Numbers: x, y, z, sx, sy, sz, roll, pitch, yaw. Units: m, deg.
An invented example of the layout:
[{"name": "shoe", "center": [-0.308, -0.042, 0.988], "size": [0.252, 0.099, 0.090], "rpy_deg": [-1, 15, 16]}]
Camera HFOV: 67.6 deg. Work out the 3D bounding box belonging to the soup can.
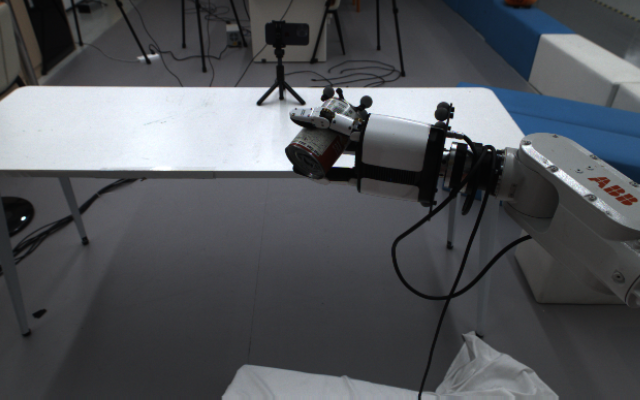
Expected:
[{"name": "soup can", "center": [0.006, -0.089, 0.690], "size": [0.067, 0.067, 0.101], "rpy_deg": [25, 66, 30]}]
